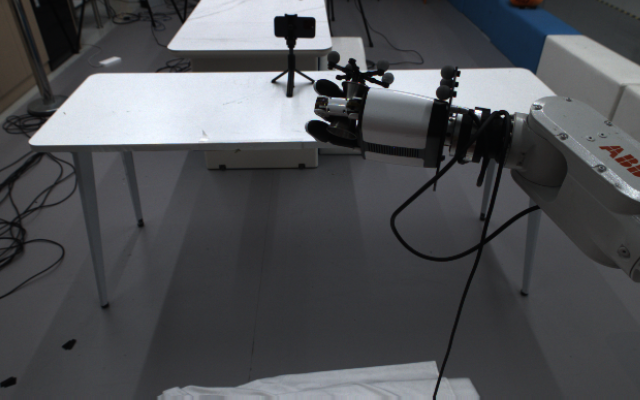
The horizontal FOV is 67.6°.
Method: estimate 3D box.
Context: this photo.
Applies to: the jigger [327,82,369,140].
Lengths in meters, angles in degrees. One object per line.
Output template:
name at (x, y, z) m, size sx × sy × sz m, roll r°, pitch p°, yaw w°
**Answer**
jigger at (0.042, -0.121, 0.656) m, size 0.043 × 0.071 × 0.043 m, roll 15°, pitch -7°, yaw 2°
